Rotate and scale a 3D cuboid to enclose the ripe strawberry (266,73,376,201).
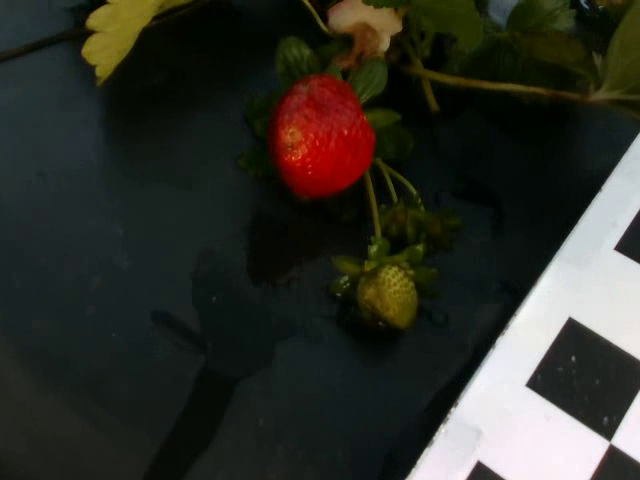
[{"bbox_3d":[-0.002,-0.035,0.212,0.043,0.052,0.057,7,10,17],"label":"ripe strawberry"}]
